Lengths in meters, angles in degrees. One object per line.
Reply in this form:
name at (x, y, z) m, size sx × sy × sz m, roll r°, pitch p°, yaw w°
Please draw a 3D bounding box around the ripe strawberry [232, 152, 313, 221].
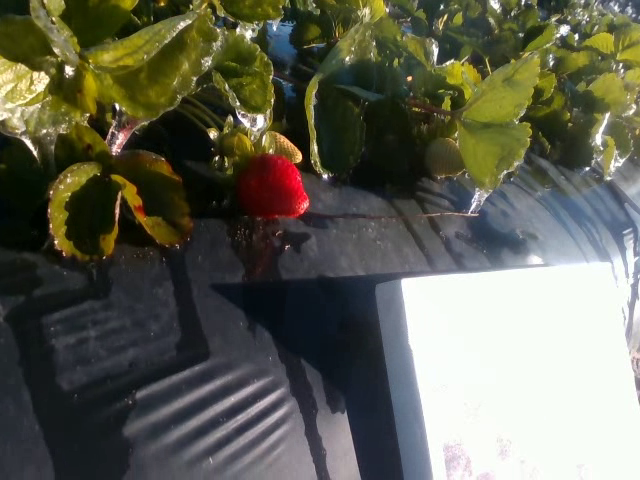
ripe strawberry at (-0.015, -0.019, 0.253) m, size 0.039 × 0.040 × 0.039 m, roll -14°, pitch 25°, yaw -34°
